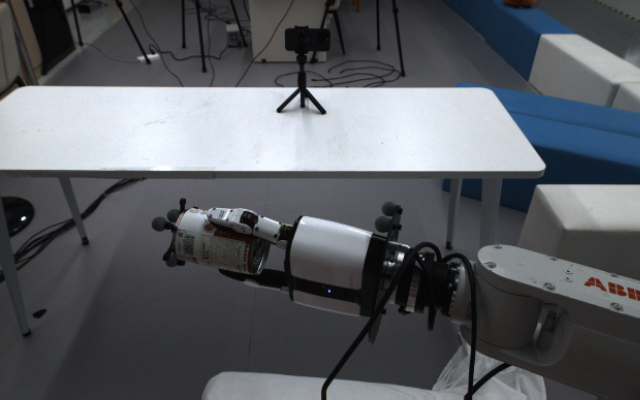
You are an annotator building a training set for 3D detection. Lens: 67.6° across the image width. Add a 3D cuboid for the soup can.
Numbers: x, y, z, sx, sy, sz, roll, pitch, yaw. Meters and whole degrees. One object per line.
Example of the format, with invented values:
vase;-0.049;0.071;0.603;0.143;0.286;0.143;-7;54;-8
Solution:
soup can;-0.115;0.051;0.589;0.101;0.067;0.067;9;35;10
